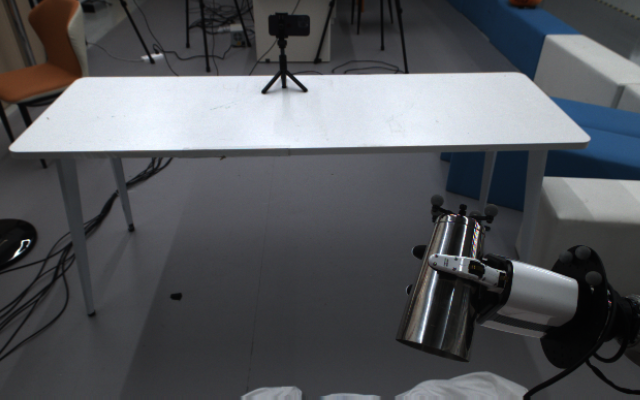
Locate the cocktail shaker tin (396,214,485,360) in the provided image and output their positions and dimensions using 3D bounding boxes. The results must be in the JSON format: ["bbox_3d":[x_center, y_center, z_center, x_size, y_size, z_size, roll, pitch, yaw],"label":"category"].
[{"bbox_3d":[0.163,0.108,0.618,0.093,0.093,0.170,13,70,15],"label":"cocktail shaker tin"}]
